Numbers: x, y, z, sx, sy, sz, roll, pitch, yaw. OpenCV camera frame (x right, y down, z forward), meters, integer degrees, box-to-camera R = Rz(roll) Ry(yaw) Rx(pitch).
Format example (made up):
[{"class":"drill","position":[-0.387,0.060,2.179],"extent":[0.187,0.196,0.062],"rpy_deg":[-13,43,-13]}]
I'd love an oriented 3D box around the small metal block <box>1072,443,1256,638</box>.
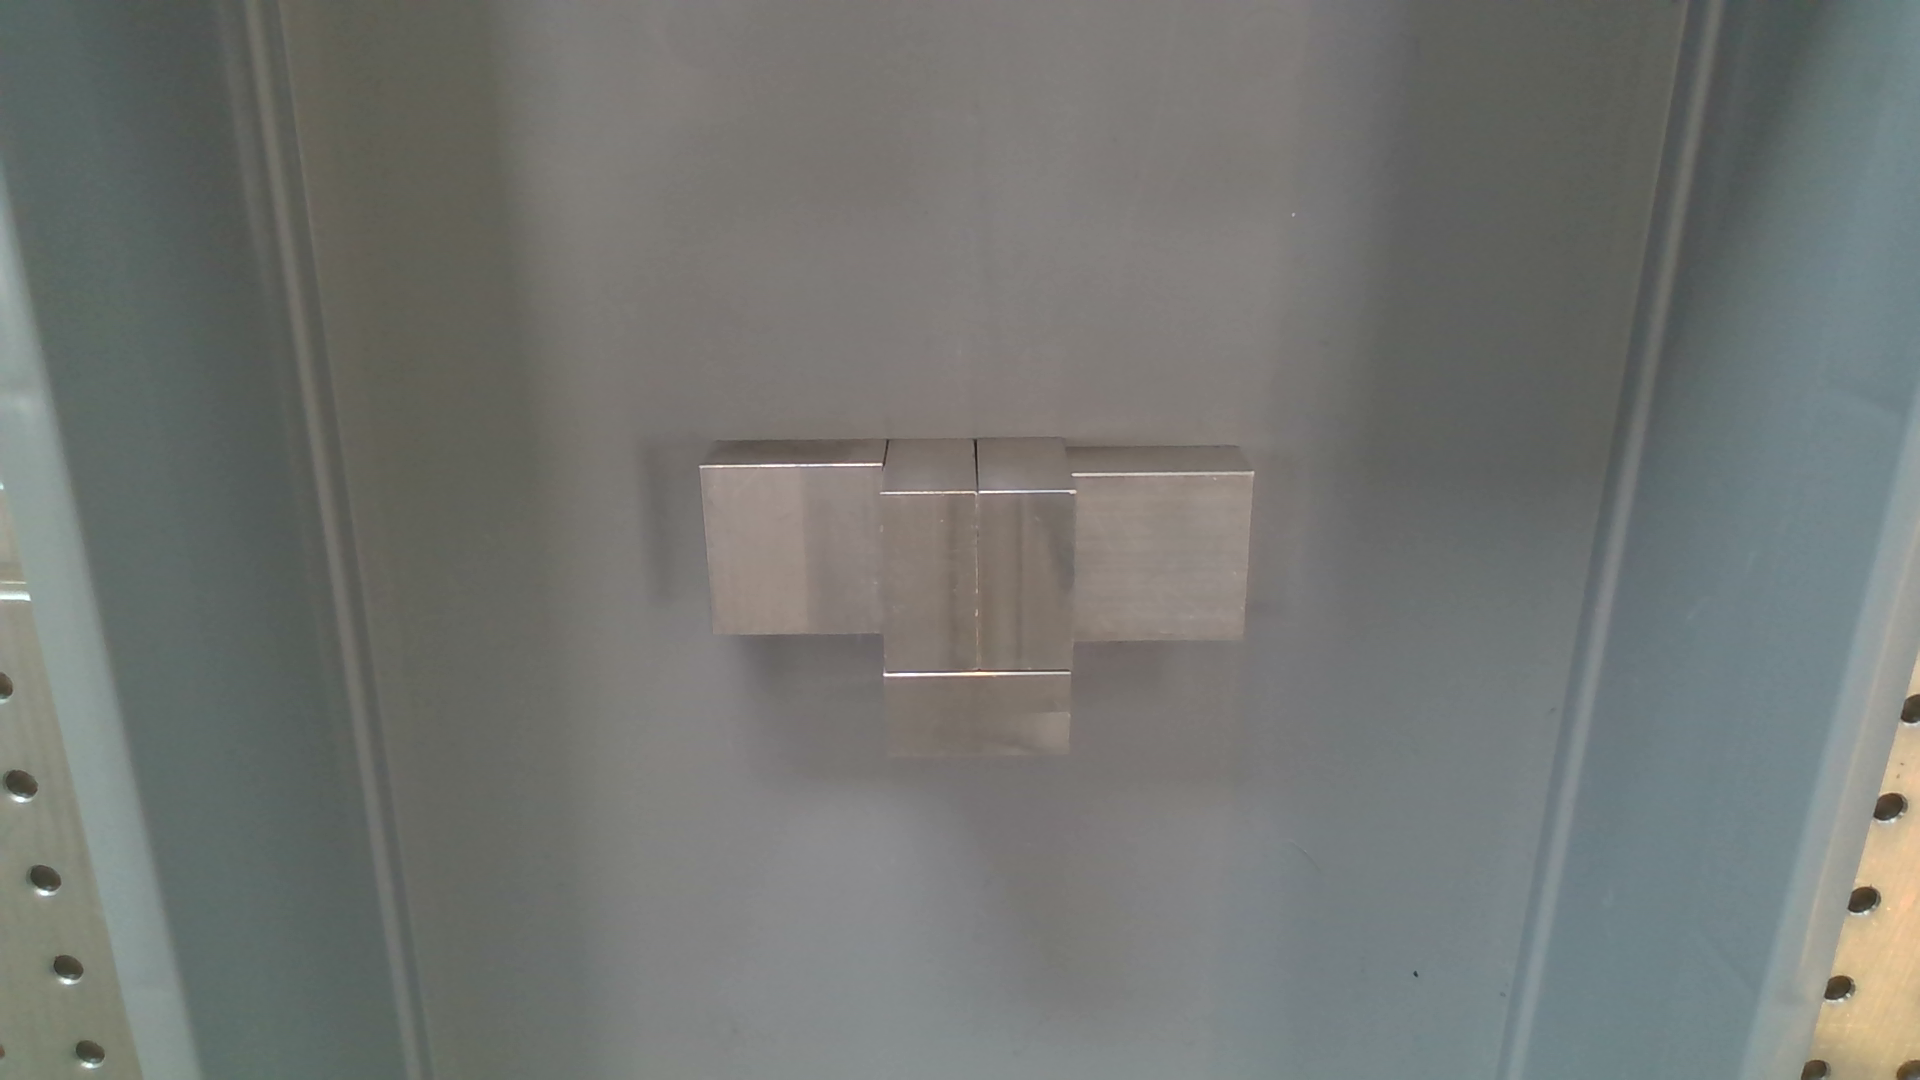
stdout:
[{"class":"small metal block","position":[0.055,0.000,0.392],"extent":[0.050,0.025,0.050],"rpy_deg":[0,110,0]}]

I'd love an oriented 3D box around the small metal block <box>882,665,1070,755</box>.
[{"class":"small metal block","position":[0.004,0.038,0.393],"extent":[0.050,0.050,0.025],"rpy_deg":[0,110,0]}]

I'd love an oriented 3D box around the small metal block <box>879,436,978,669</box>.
[{"class":"small metal block","position":[-0.008,0.002,0.380],"extent":[0.025,0.050,0.050],"rpy_deg":[0,110,0]}]

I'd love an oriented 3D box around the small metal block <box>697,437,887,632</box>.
[{"class":"small metal block","position":[-0.046,-0.002,0.391],"extent":[0.050,0.025,0.050],"rpy_deg":[0,110,0]}]

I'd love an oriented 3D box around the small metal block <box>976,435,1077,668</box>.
[{"class":"small metal block","position":[0.017,0.002,0.380],"extent":[0.025,0.050,0.050],"rpy_deg":[0,110,0]}]
